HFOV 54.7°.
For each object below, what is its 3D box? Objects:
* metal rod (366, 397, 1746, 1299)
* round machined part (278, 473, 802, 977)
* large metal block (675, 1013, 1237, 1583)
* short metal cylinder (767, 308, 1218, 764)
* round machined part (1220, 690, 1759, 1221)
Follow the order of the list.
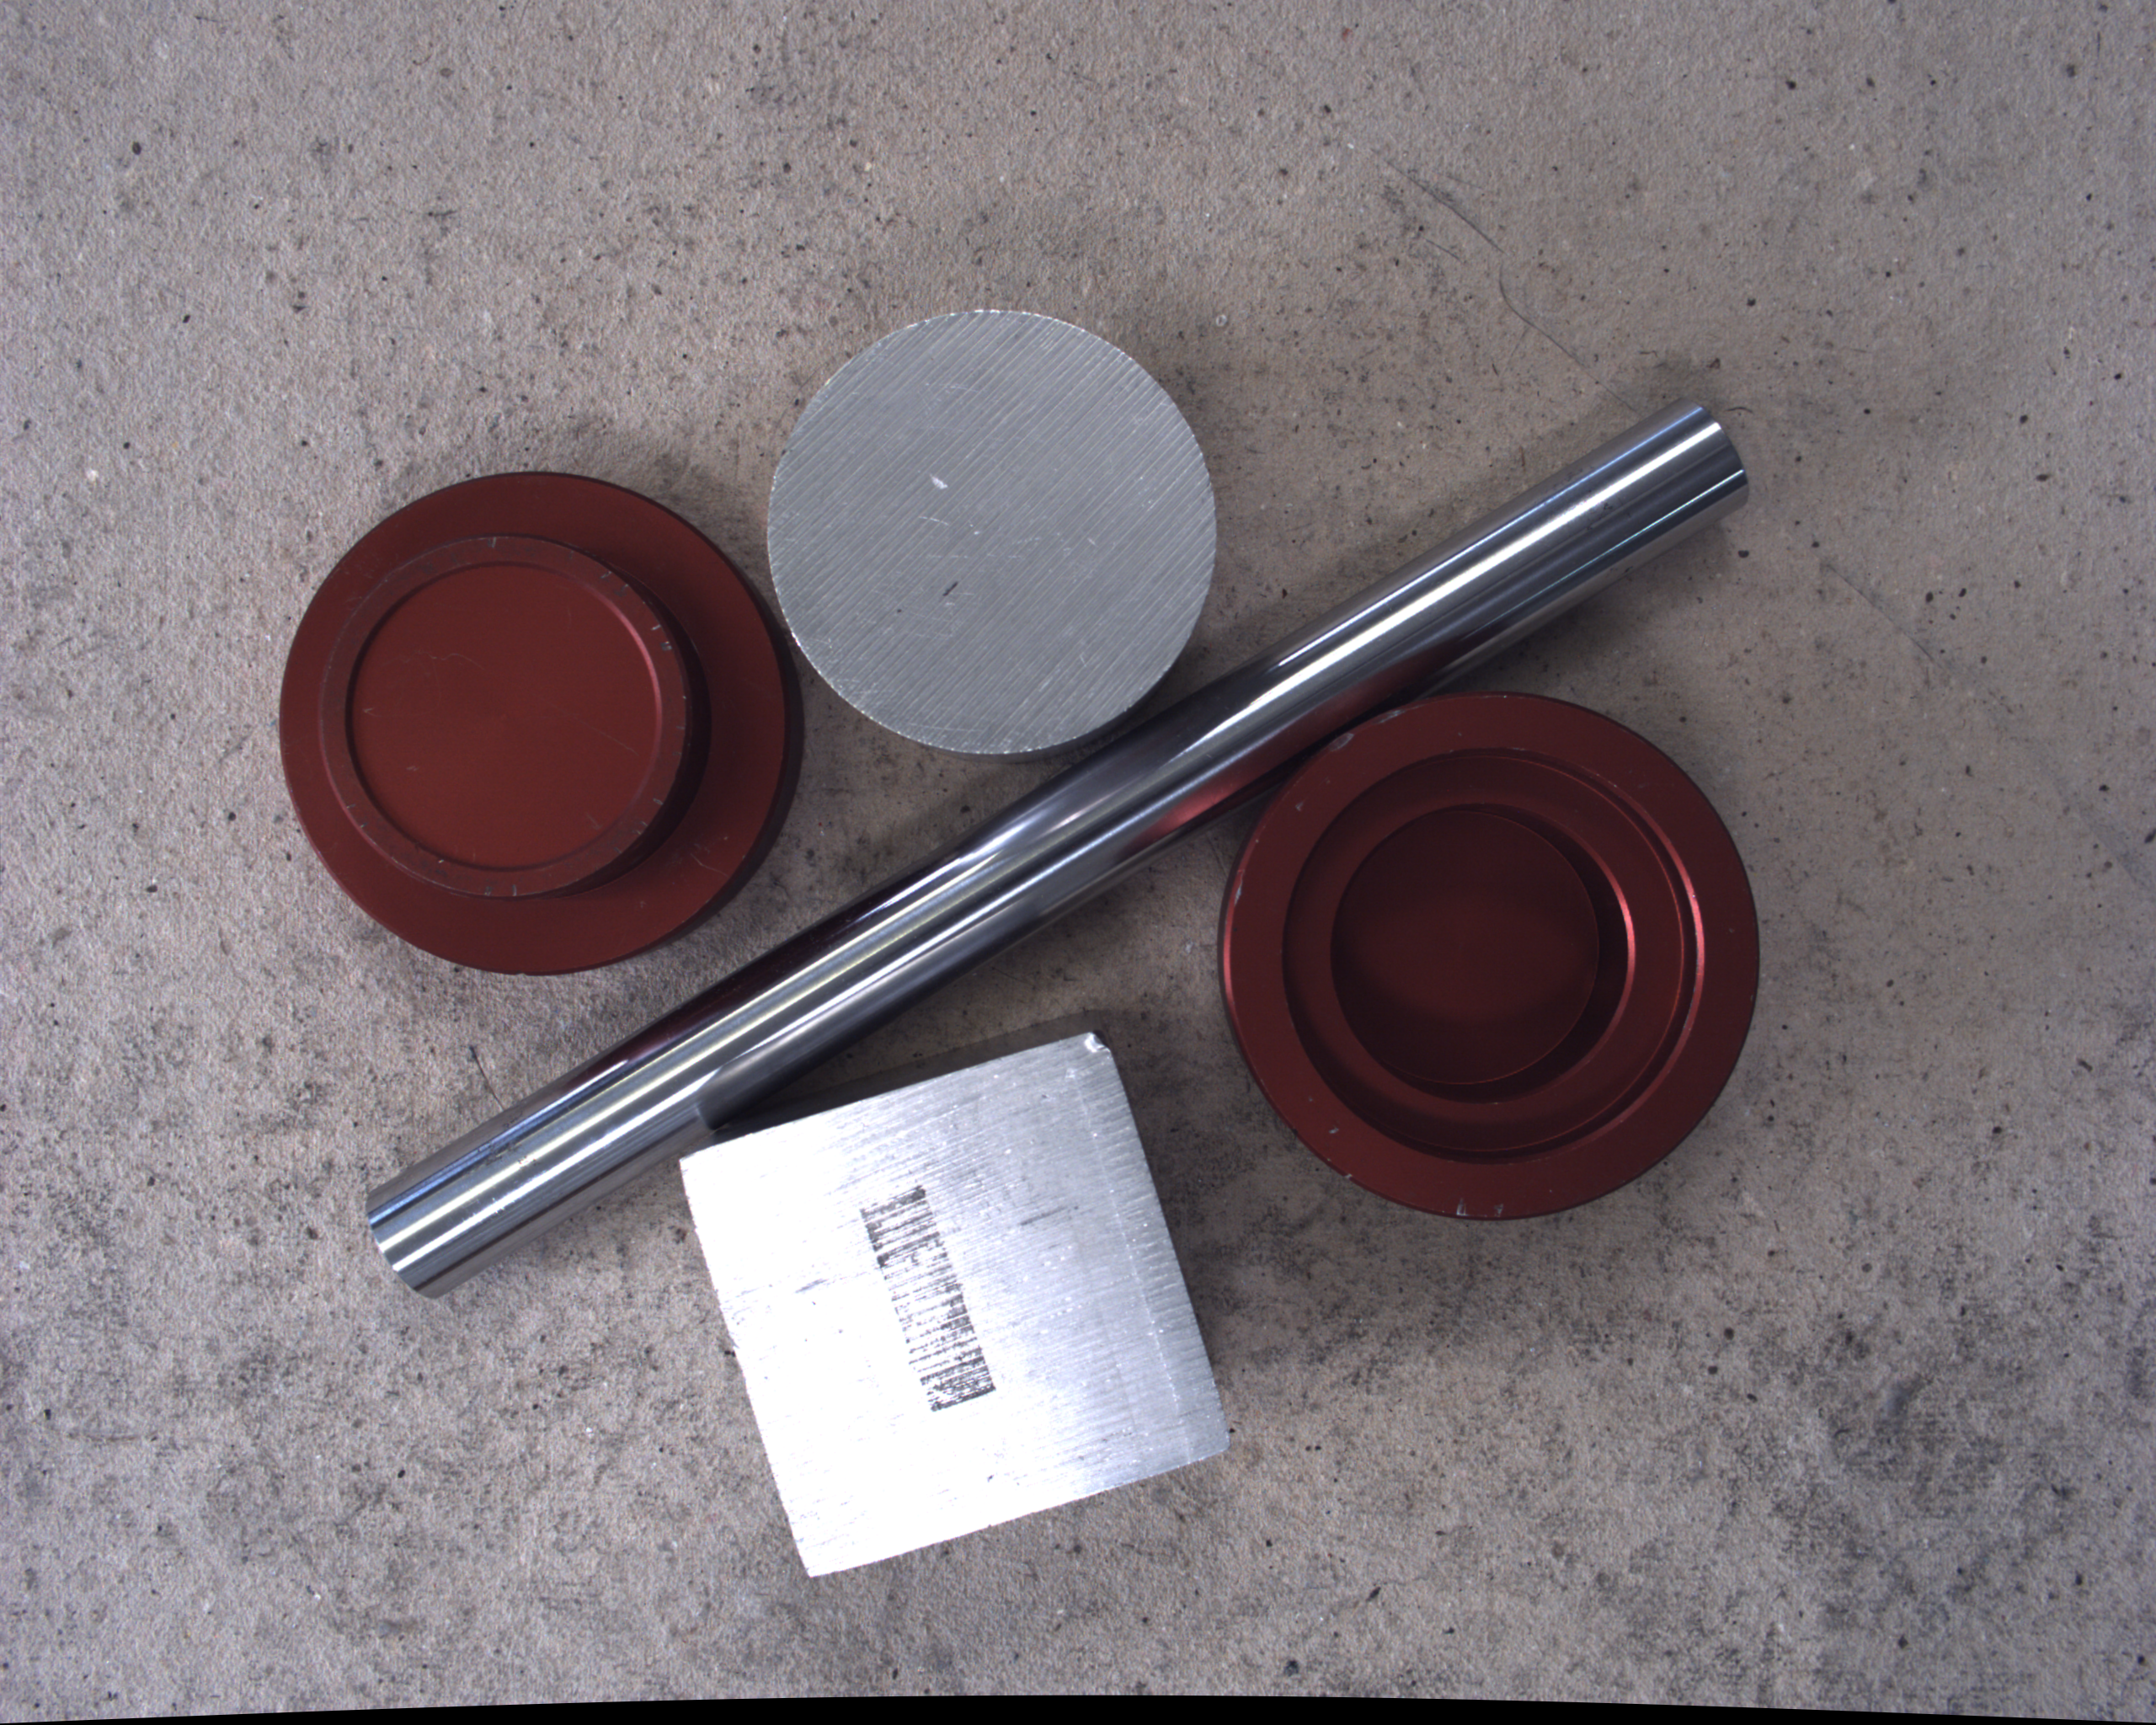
[{"bbox_3d":[-0.004,-0.003,0.412,0.301,0.025,0.025,-31,90,0],"label":"metal rod"},{"bbox_3d":[-0.105,-0.027,0.401,0.099,0.042,0.097,0,90,0],"label":"round machined part"},{"bbox_3d":[-0.022,0.079,0.399,0.080,0.050,0.080,-17,90,0],"label":"large metal block"},{"bbox_3d":[-0.015,-0.060,0.398,0.081,0.050,0.079,0,90,0],"label":"short metal cylinder"},{"bbox_3d":[0.076,0.017,0.403,0.099,0.042,0.097,0,90,0],"label":"round machined part"}]
